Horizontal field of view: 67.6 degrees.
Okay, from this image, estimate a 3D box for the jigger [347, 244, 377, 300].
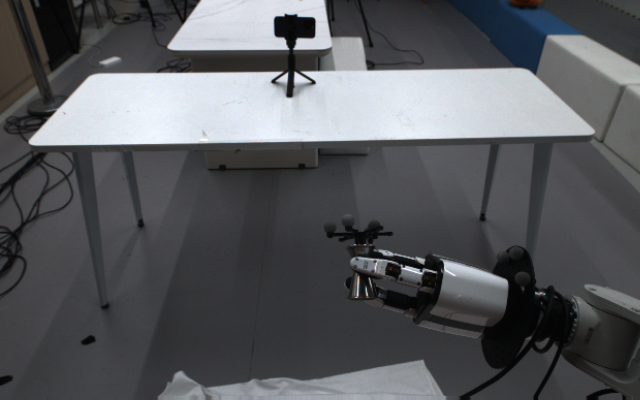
[{"bbox_3d":[0.055,0.093,0.627,0.043,0.043,0.071,0,75,-3],"label":"jigger"}]
